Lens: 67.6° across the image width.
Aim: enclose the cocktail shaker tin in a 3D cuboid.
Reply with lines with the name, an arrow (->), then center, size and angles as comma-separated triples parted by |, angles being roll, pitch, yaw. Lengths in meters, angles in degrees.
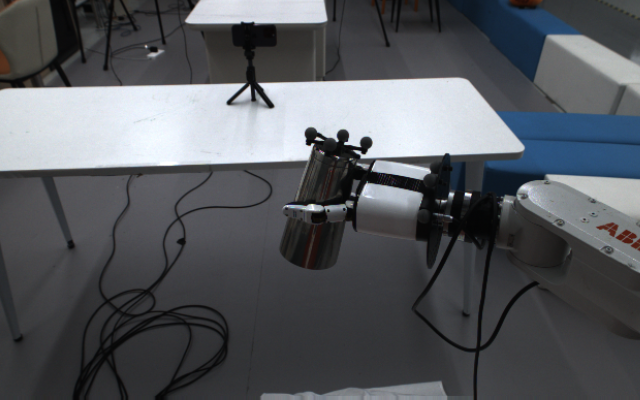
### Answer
cocktail shaker tin -> 0.004, 0.004, 0.709 | 0.093, 0.170, 0.093 | 12, 24, -5
